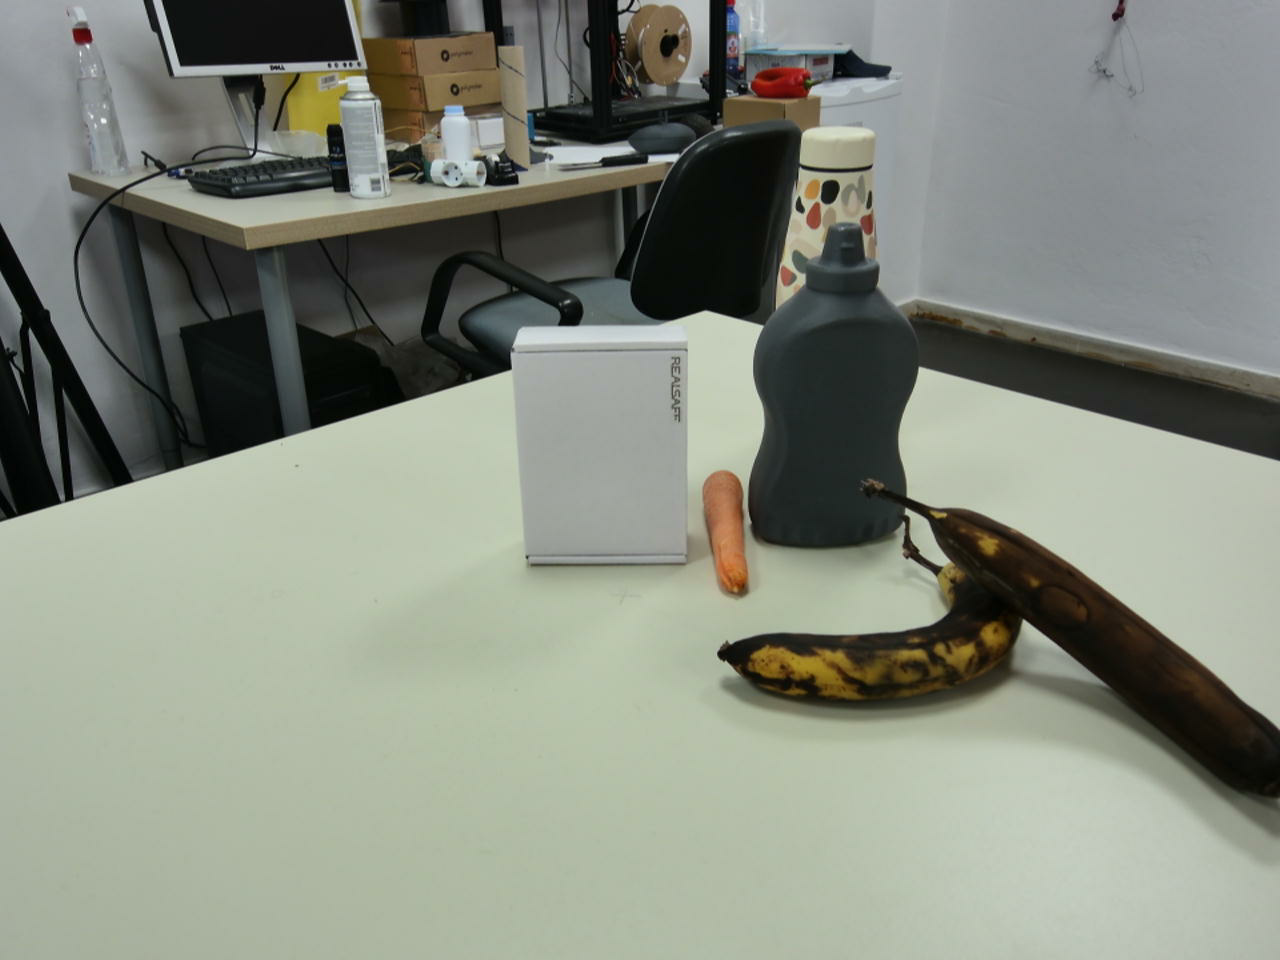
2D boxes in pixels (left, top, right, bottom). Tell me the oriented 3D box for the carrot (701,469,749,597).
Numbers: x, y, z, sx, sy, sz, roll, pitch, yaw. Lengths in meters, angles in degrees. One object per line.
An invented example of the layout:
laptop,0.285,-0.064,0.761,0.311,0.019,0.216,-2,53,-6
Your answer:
carrot,0.055,0.029,0.644,0.030,0.032,0.136,1,24,2
